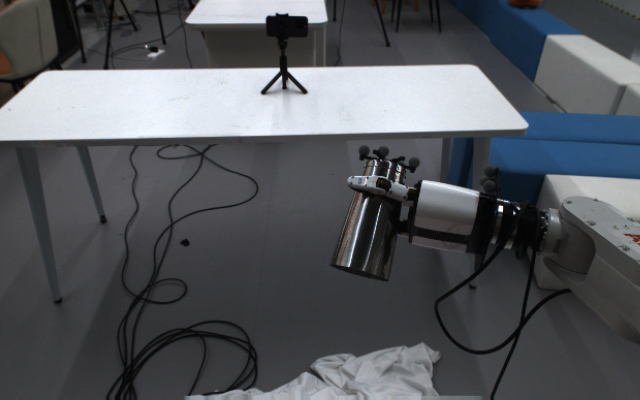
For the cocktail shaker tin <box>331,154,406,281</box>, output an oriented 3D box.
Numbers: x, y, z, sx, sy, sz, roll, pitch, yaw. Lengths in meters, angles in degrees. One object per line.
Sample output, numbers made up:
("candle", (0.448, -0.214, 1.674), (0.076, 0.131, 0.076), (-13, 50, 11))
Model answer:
("cocktail shaker tin", (0.082, 0.025, 0.735), (0.093, 0.093, 0.170), (13, 77, 15))
